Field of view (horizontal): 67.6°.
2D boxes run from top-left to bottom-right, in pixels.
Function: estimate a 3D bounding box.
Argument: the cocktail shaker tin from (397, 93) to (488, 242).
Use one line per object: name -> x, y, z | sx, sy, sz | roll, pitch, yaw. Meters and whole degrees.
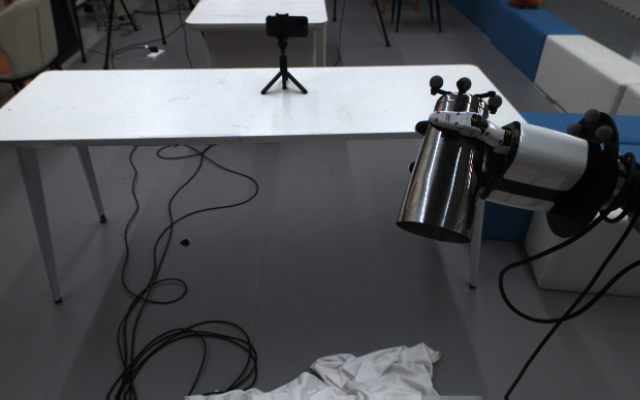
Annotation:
cocktail shaker tin -> 0.162, -0.044, 0.600 | 0.093, 0.093, 0.170 | 13, 79, 15
